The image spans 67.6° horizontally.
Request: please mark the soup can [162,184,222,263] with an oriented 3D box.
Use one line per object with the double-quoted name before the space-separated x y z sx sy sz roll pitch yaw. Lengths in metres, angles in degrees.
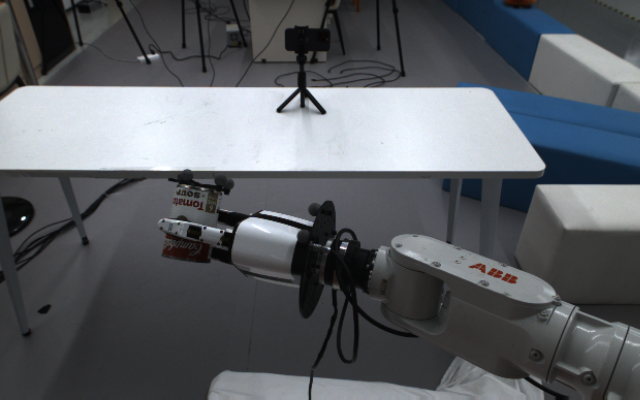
"soup can" -0.180 0.036 0.684 0.067 0.101 0.067 9 -5 1
